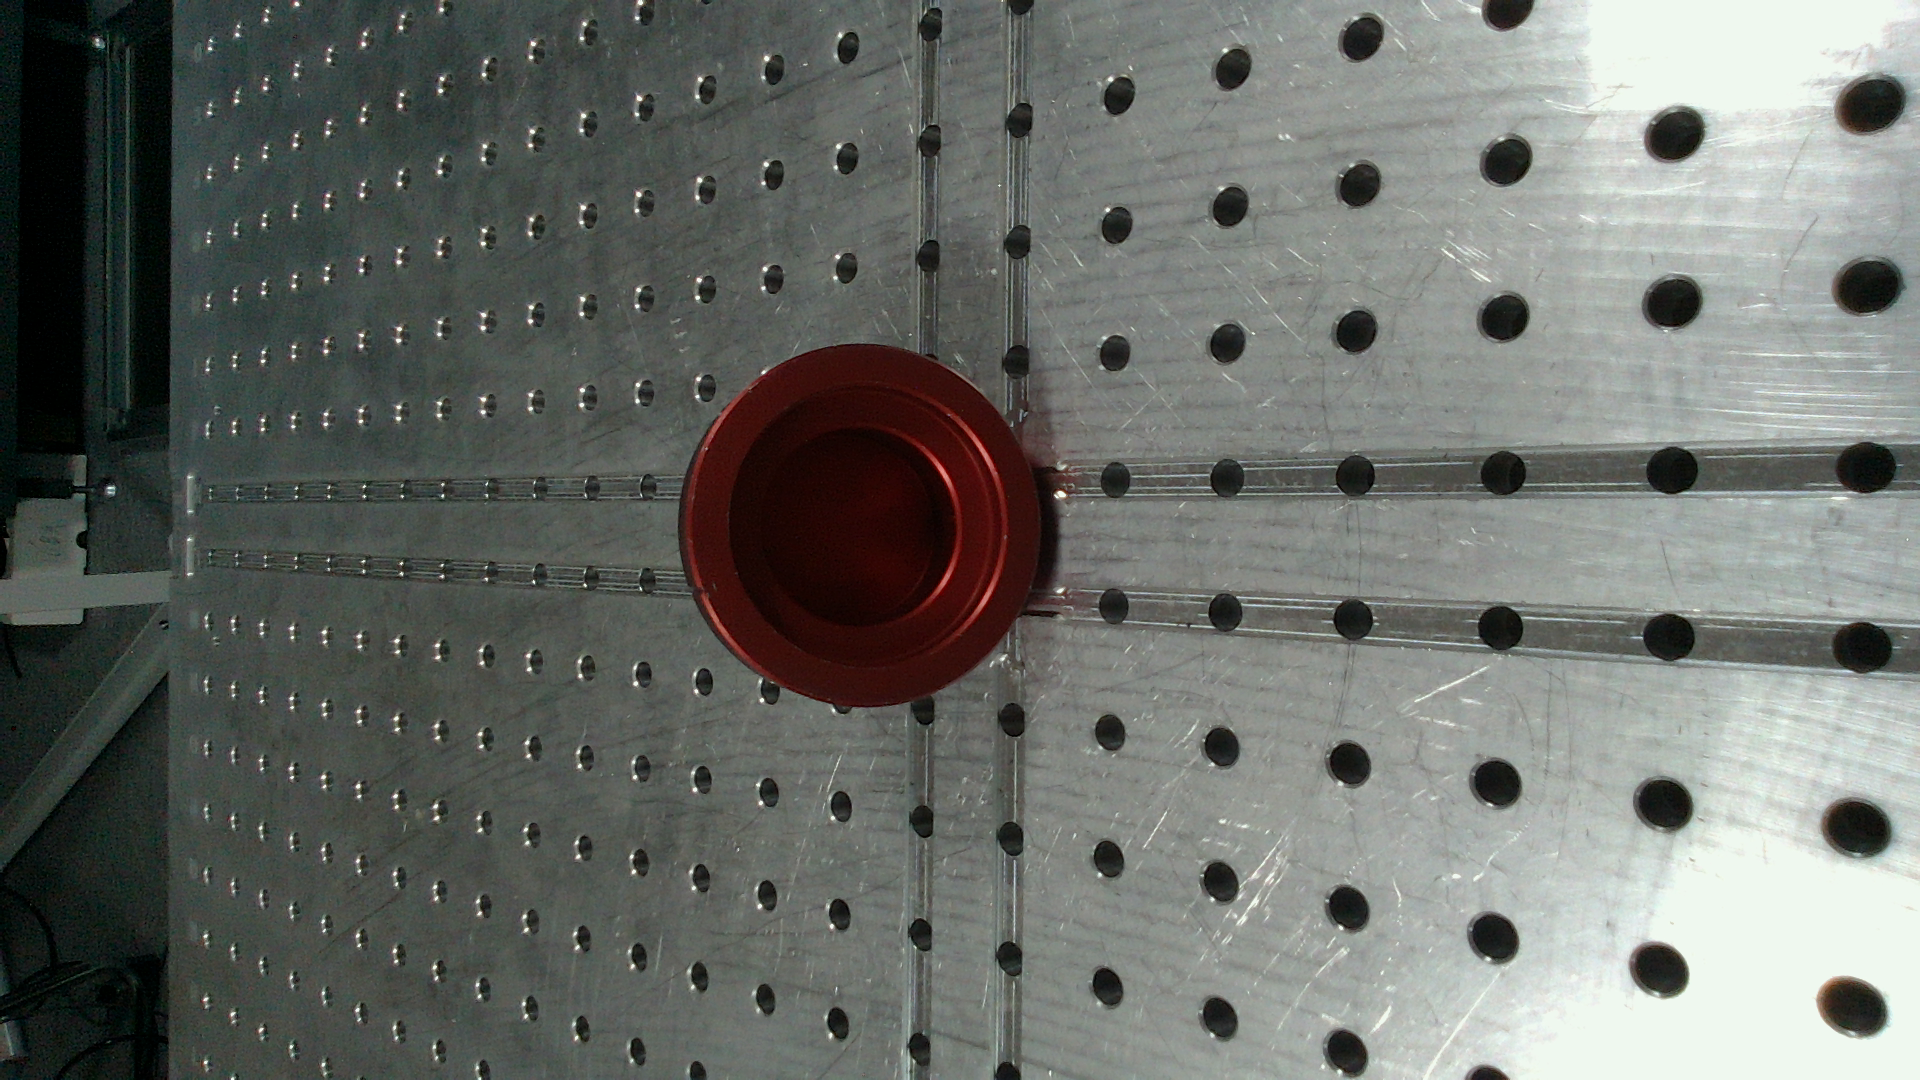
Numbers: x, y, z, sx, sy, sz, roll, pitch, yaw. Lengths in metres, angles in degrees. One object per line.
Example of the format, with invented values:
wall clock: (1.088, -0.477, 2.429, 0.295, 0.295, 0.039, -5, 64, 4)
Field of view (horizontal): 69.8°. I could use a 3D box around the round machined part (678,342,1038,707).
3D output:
round machined part: (-0.031, -0.004, 0.388, 0.042, 0.098, 0.098, 173, 95, -72)
